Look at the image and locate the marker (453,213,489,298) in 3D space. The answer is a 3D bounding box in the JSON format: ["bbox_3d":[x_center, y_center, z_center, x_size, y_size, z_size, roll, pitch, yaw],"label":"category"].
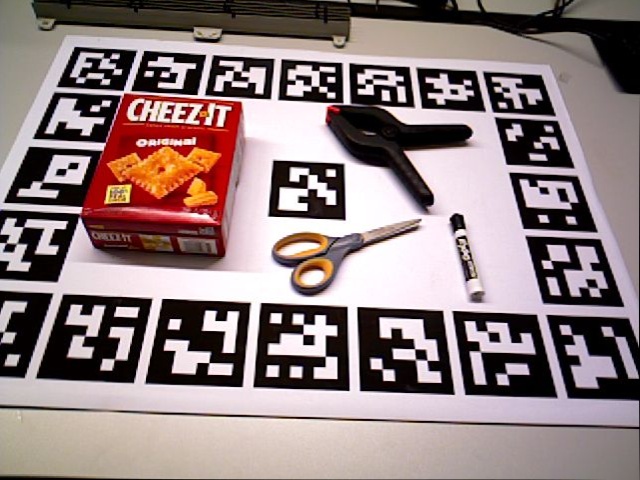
[{"bbox_3d":[0.184,0.015,0.667,0.019,0.020,0.119,-1,54,-5],"label":"marker"}]

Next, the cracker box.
[{"bbox_3d":[-0.186,-0.086,0.686,0.163,0.073,0.210,3,54,-1],"label":"cracker box"}]

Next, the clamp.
[{"bbox_3d":[0.093,-0.140,0.780,0.203,0.037,0.162,28,56,15],"label":"clamp"}]

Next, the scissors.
[{"bbox_3d":[0.043,0.005,0.667,0.199,0.016,0.087,-21,57,-20],"label":"scissors"}]
